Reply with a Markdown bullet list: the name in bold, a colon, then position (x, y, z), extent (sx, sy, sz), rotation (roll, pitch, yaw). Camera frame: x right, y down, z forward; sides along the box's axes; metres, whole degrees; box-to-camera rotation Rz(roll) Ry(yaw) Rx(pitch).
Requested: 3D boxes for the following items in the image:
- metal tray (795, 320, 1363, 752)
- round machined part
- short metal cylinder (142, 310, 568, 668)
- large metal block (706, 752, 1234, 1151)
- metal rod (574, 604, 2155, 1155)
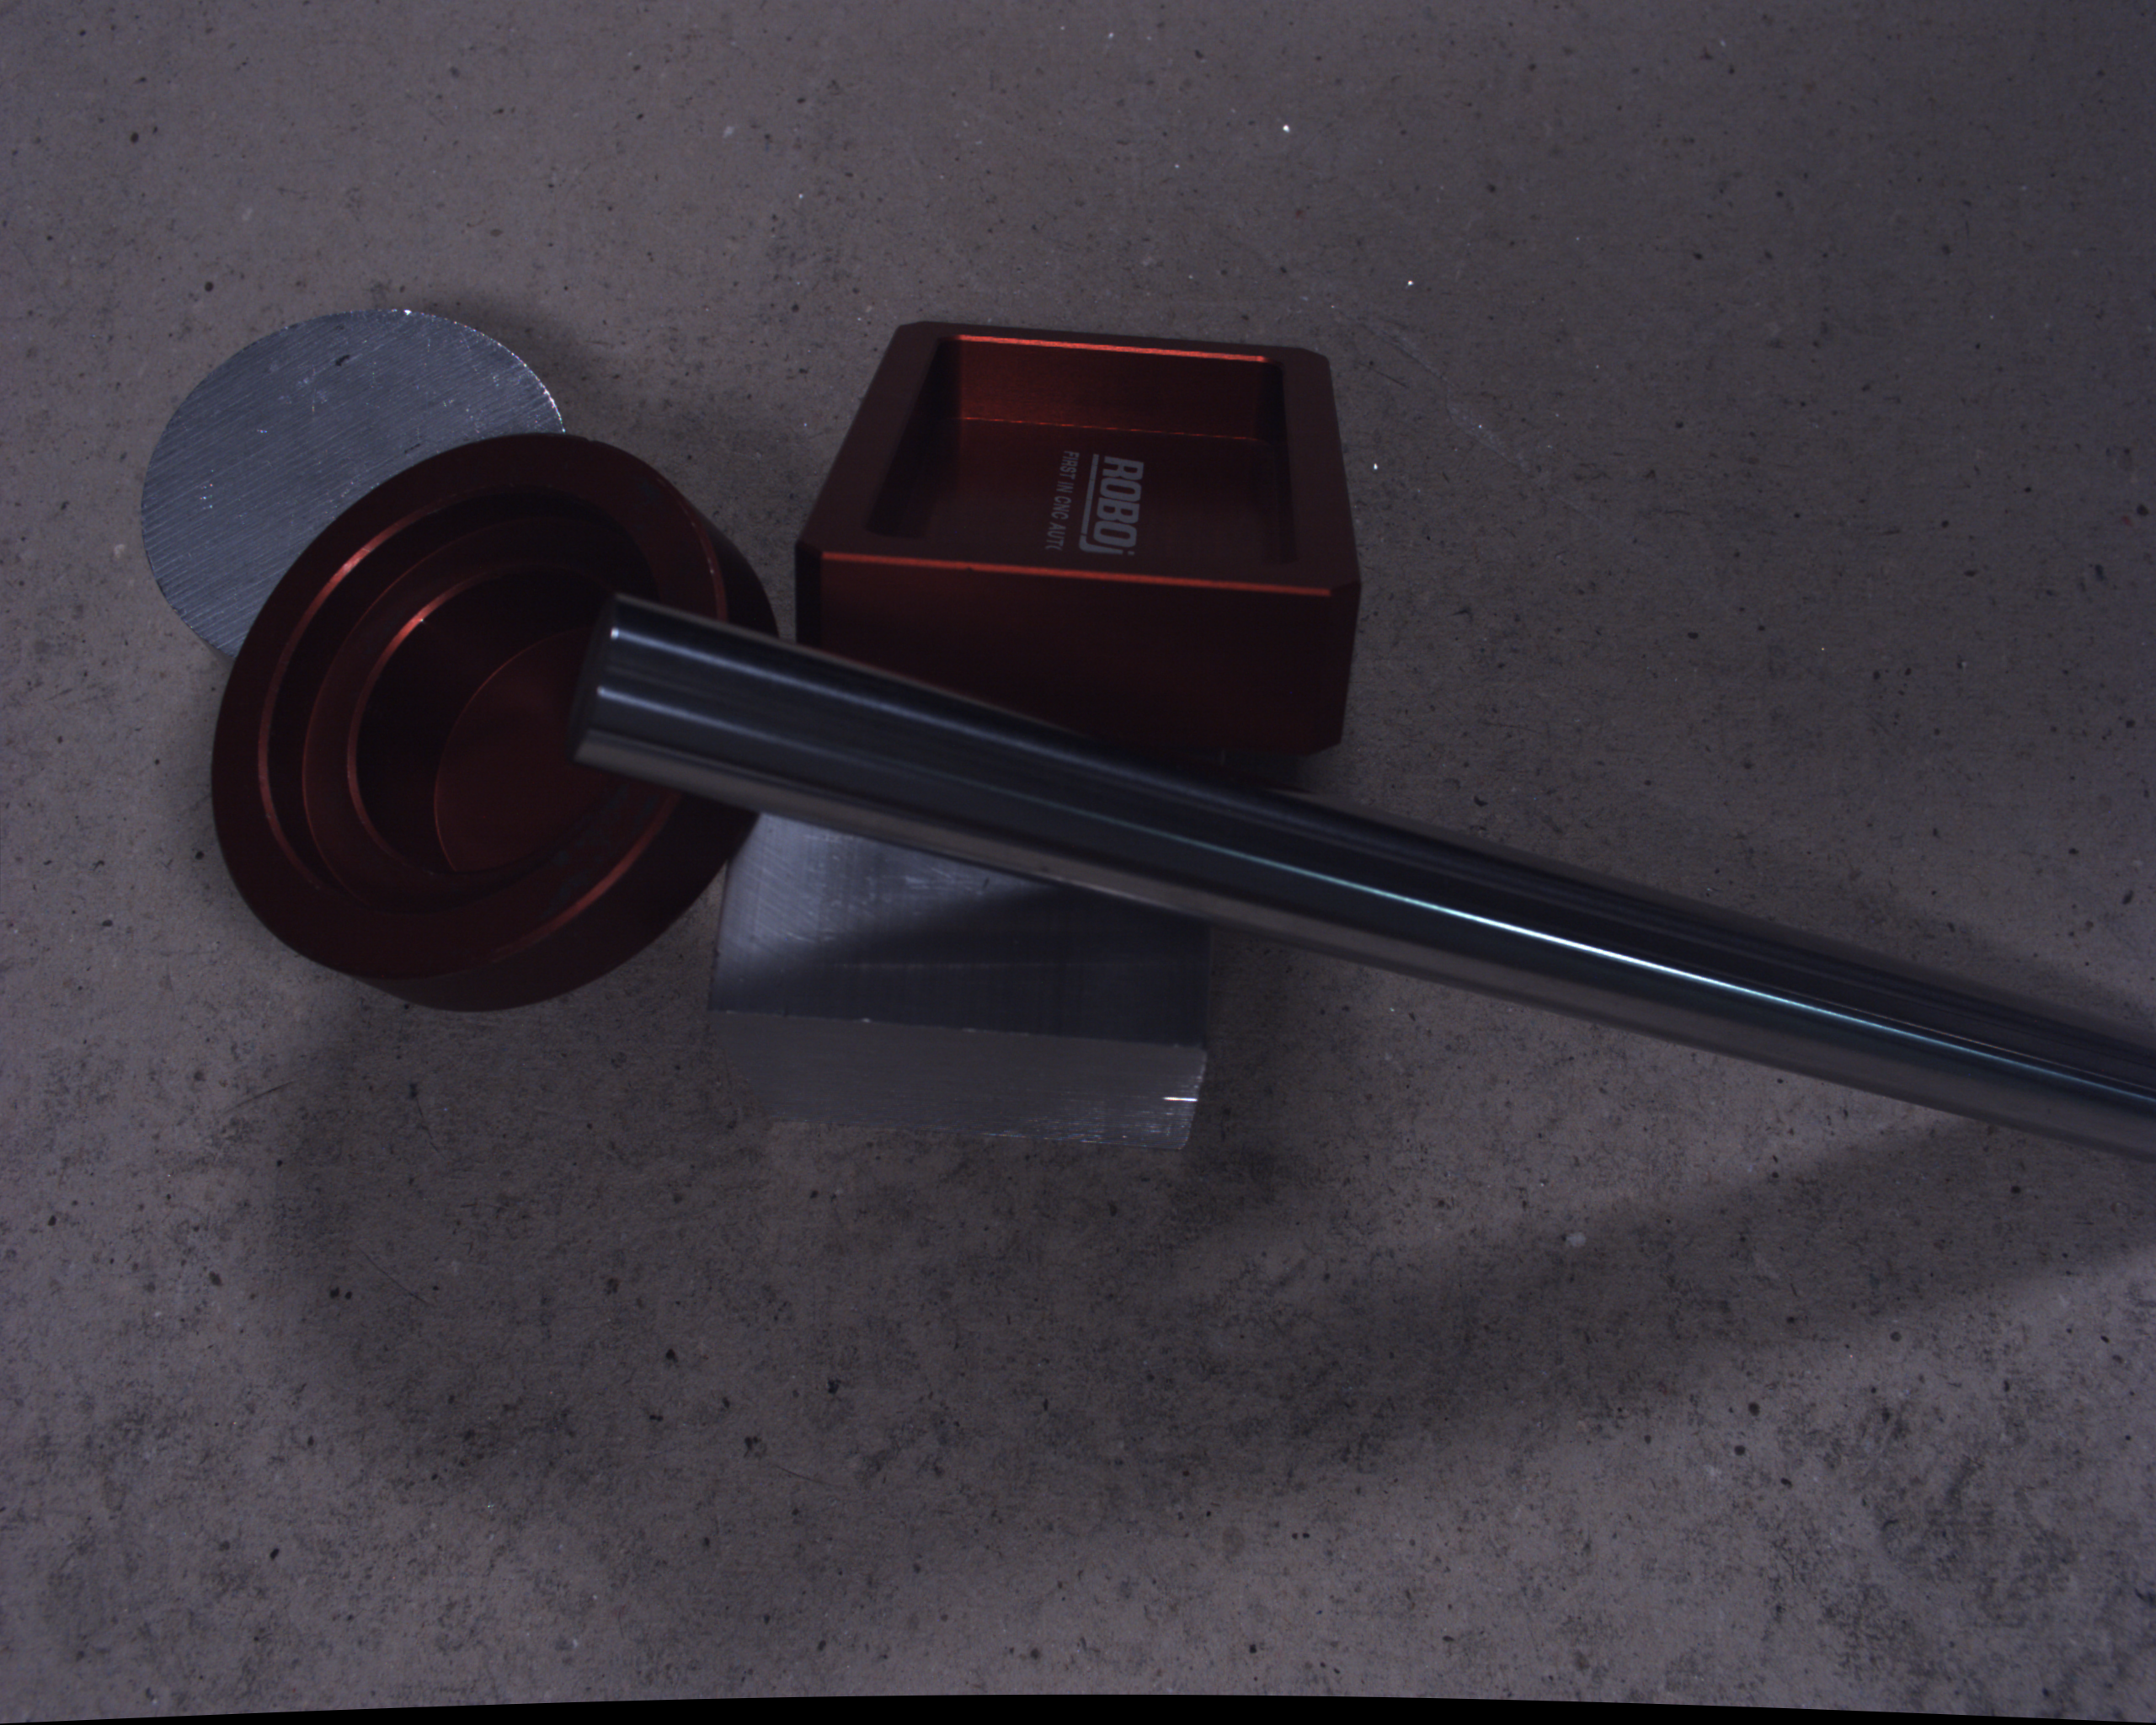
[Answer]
- **metal tray**: position (0.003, -0.066, 0.391), extent (0.091, 0.030, 0.130), rotation (4, 31, 1)
- **round machined part**: position (-0.095, -0.021, 0.360), extent (0.098, 0.042, 0.098), rotation (-7, 68, 18)
- **short metal cylinder**: position (-0.136, -0.062, 0.417), extent (0.081, 0.050, 0.080), rotation (0, 70, 0)
- **large metal block**: position (-0.017, 0.016, 0.374), extent (0.081, 0.080, 0.050), rotation (4, 70, 1)
- **metal rod**: position (0.070, 0.010, 0.344), extent (0.302, 0.025, 0.025), rotation (14, 69, -21)
